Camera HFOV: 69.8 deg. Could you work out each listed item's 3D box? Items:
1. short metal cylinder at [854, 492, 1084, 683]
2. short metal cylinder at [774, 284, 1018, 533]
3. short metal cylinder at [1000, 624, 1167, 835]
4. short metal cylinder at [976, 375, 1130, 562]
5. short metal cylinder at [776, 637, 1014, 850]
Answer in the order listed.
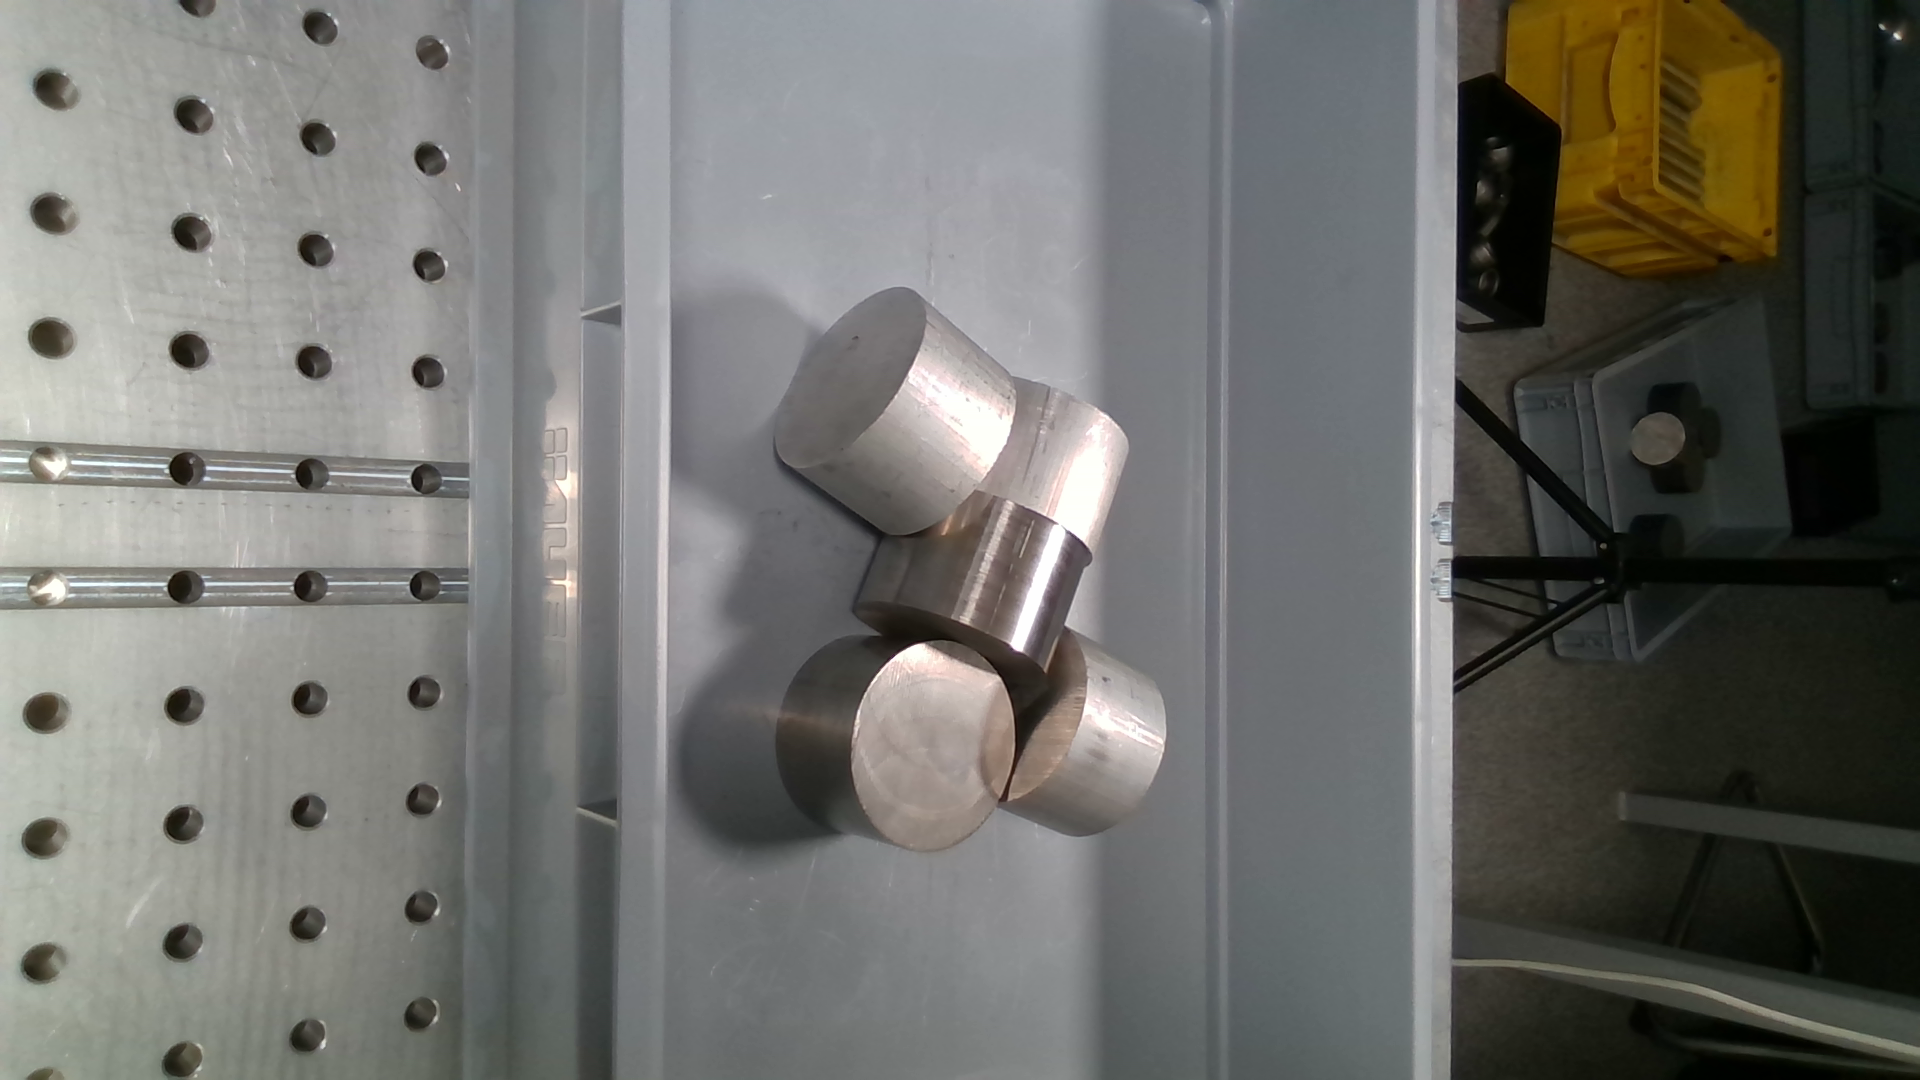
[{"bbox_3d":[0.004,0.018,0.550,0.080,0.080,0.050,33,69,-35],"label":"short metal cylinder"},{"bbox_3d":[-0.025,-0.050,0.524,0.050,0.080,0.080,36,67,-34],"label":"short metal cylinder"},{"bbox_3d":[0.039,0.078,0.579,0.050,0.080,0.080,29,72,-36],"label":"short metal cylinder"},{"bbox_3d":[0.024,-0.027,0.566,0.080,0.080,0.050,32,70,-36],"label":"short metal cylinder"},{"bbox_3d":[-0.025,0.078,0.544,0.080,0.050,0.080,0,90,-40],"label":"short metal cylinder"}]
